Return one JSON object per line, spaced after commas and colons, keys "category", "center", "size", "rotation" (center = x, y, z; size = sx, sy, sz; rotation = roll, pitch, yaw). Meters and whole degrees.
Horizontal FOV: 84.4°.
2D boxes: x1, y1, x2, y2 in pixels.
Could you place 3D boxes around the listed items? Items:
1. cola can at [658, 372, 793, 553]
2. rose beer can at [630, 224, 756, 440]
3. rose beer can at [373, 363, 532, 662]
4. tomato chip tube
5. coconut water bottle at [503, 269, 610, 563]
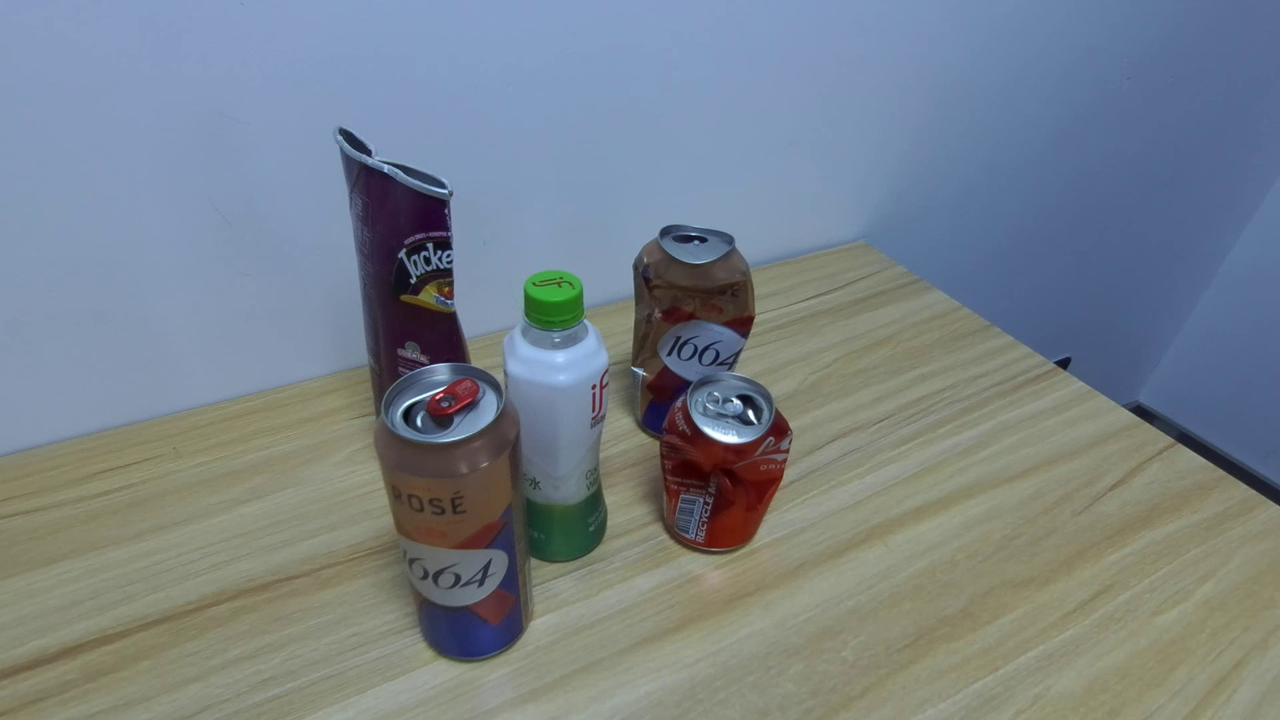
{"category": "cola can", "center": [0.049, 0.066, 0.453], "size": [0.069, 0.112, 0.066], "rotation": [33, 46, 32]}
{"category": "rose beer can", "center": [0.034, -0.015, 0.513], "size": [0.074, 0.162, 0.067], "rotation": [-11, 35, -23]}
{"category": "rose beer can", "center": [-0.093, 0.085, 0.371], "size": [0.069, 0.169, 0.068], "rotation": [3, 37, -2]}
{"category": "tomato chip tube", "center": [-0.138, -0.014, 0.440], "size": [0.078, 0.236, 0.090], "rotation": [-1, 37, -5]}
{"category": "coconut water bottle", "center": [-0.049, 0.038, 0.420], "size": [0.063, 0.189, 0.063], "rotation": [2, 37, -1]}
